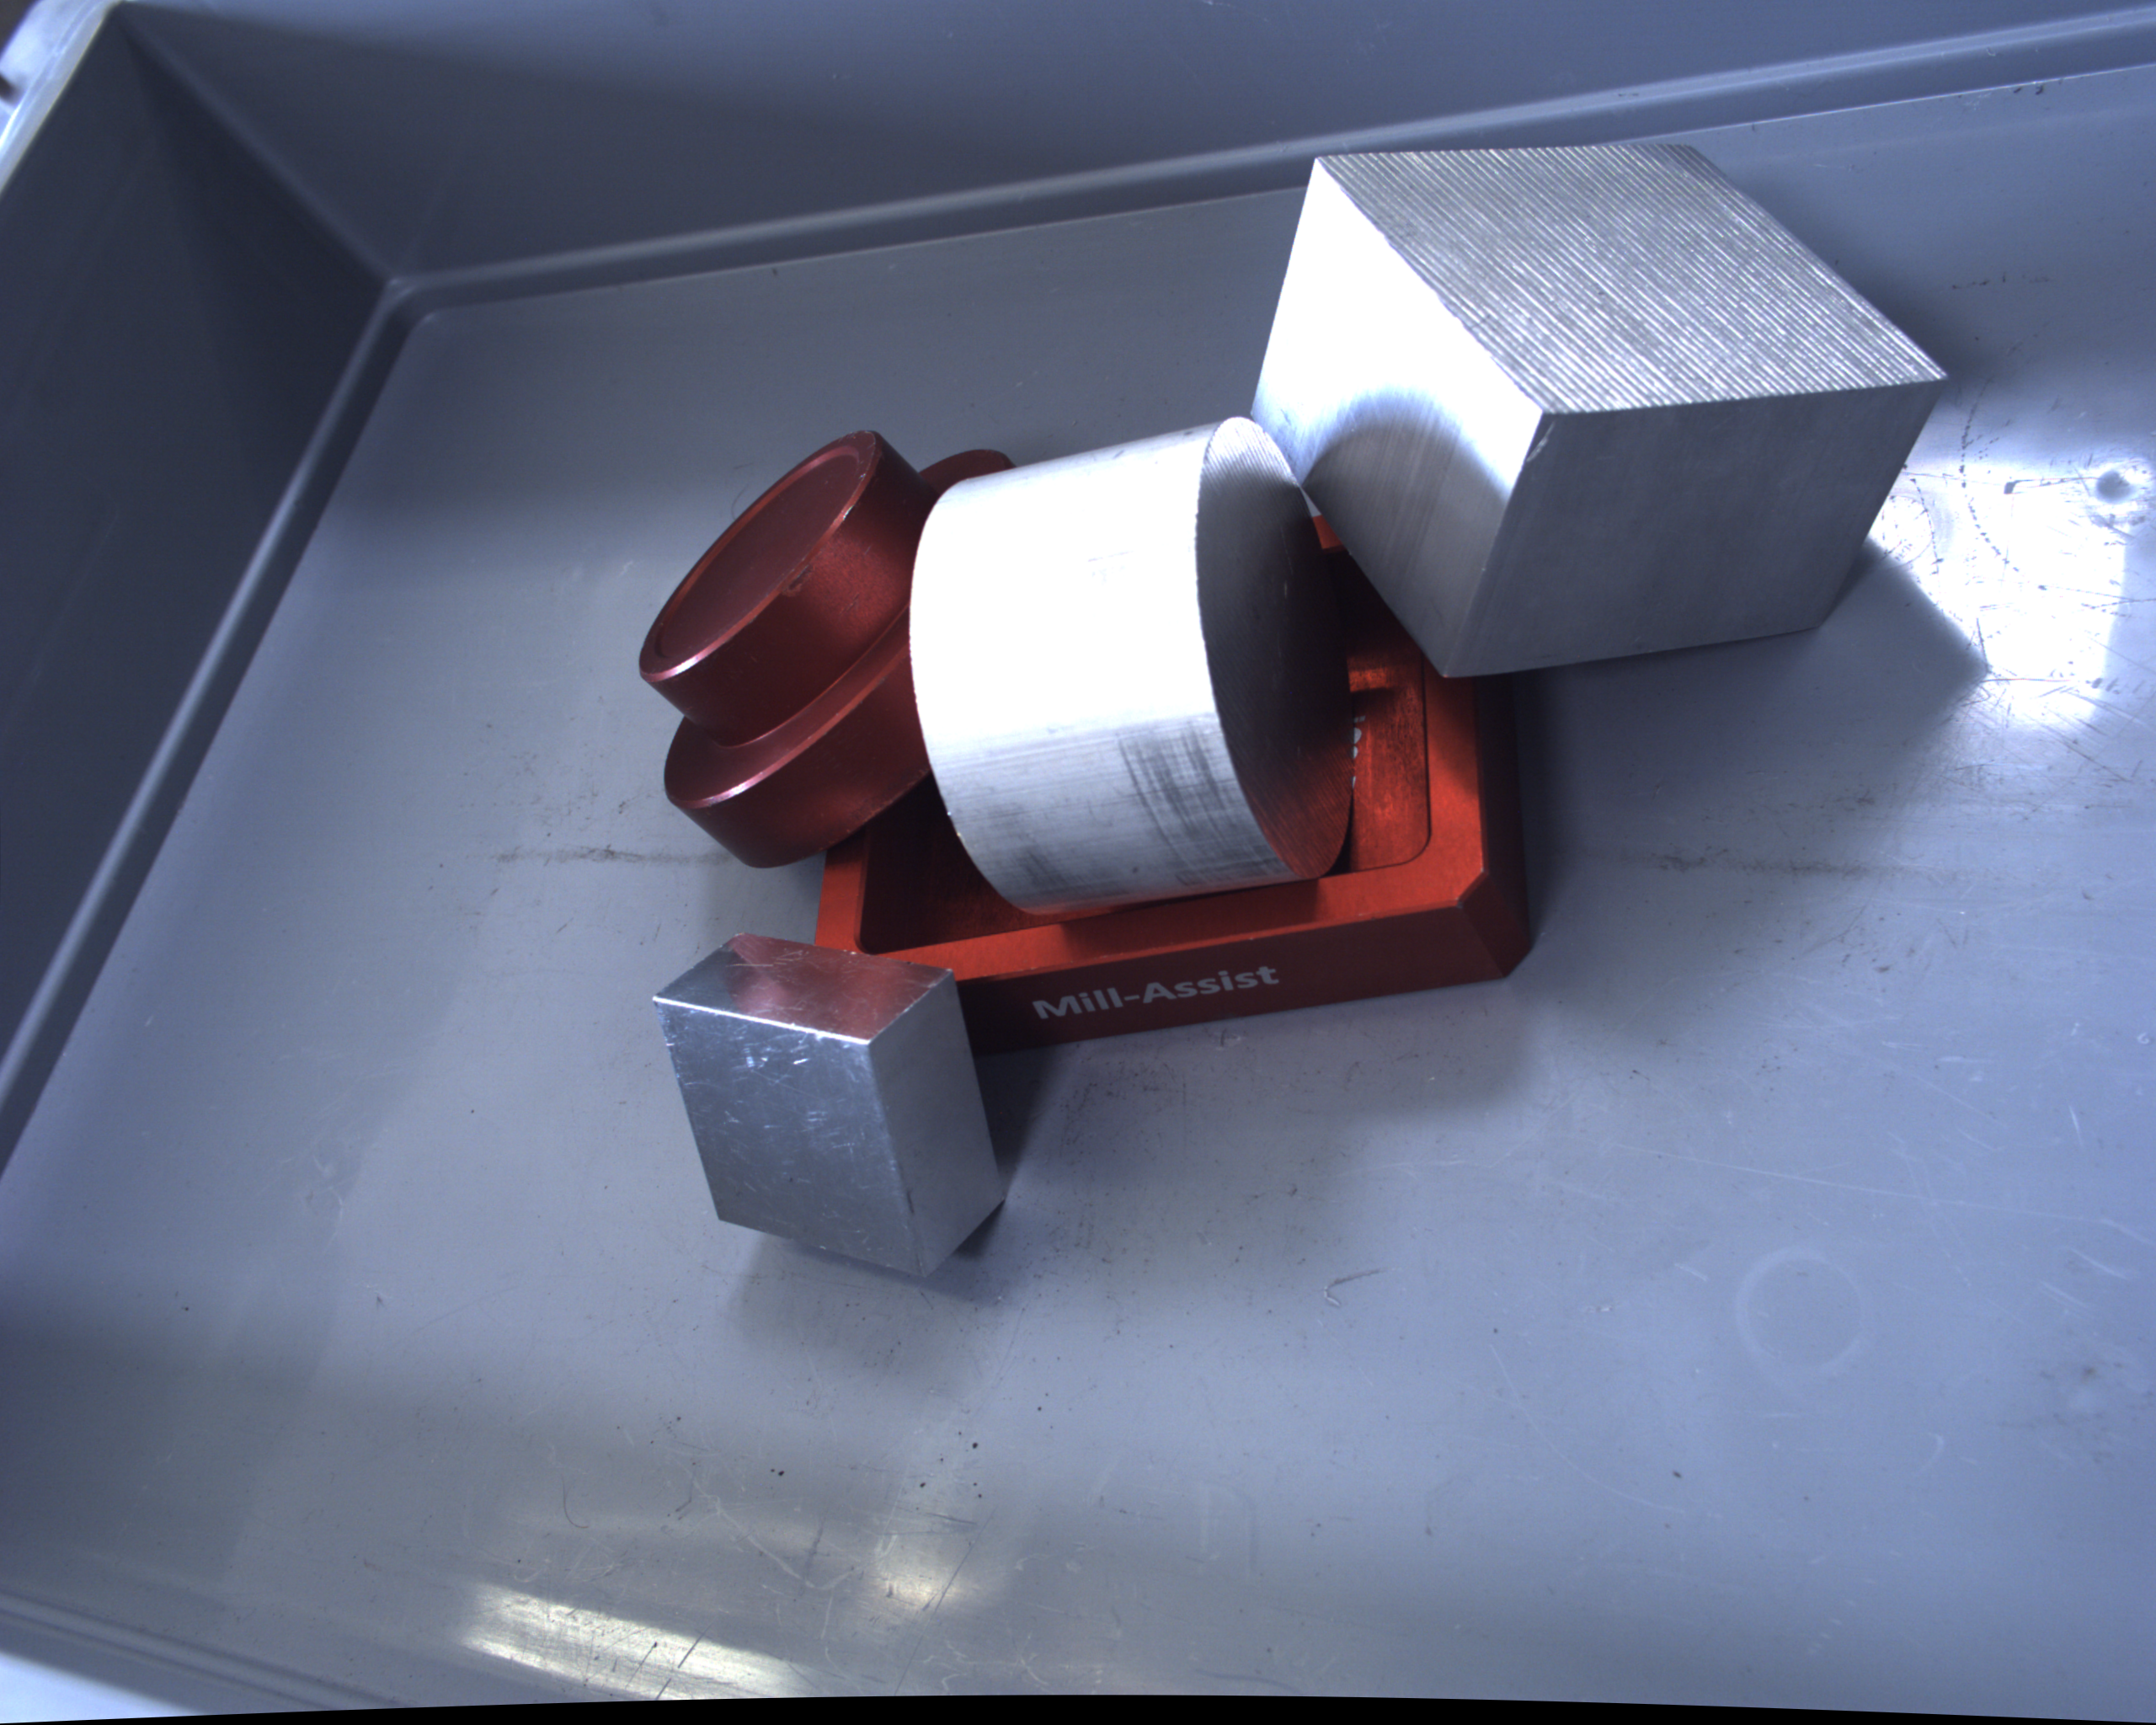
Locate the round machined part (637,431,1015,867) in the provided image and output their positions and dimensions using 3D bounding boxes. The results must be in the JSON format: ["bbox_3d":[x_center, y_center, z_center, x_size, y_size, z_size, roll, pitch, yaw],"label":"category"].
[{"bbox_3d":[-0.051,-0.049,0.425,0.098,0.042,0.098,-36,26,21],"label":"round machined part"}]

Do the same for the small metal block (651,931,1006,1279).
[{"bbox_3d":[-0.045,0.043,0.381,0.050,0.050,0.025,8,31,32],"label":"small metal block"}]

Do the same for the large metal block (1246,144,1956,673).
[{"bbox_3d":[0.087,-0.083,0.367,0.081,0.050,0.080,-10,49,-22],"label":"large metal block"}]

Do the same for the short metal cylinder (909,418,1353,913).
[{"bbox_3d":[0.012,-0.033,0.366,0.050,0.080,0.080,-8,58,23],"label":"short metal cylinder"}]

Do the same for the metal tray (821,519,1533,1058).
[{"bbox_3d":[0.017,-0.014,0.402,0.130,0.030,0.090,-10,57,22],"label":"metal tray"}]
